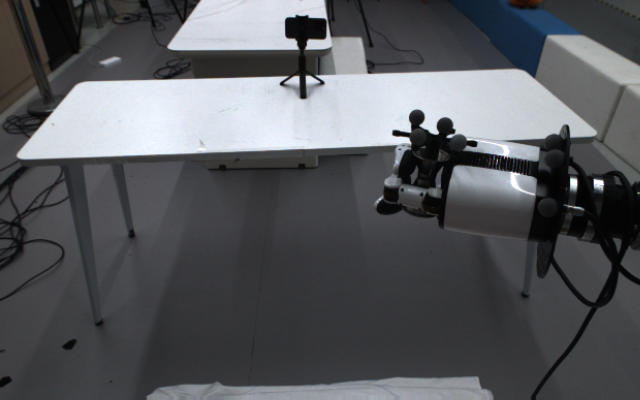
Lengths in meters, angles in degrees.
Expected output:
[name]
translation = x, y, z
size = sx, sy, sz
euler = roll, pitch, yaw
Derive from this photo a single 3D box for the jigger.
[jigger]
translation = 0.115, -0.022, 0.542
size = 0.043, 0.071, 0.043
euler = 5, 26, -3
